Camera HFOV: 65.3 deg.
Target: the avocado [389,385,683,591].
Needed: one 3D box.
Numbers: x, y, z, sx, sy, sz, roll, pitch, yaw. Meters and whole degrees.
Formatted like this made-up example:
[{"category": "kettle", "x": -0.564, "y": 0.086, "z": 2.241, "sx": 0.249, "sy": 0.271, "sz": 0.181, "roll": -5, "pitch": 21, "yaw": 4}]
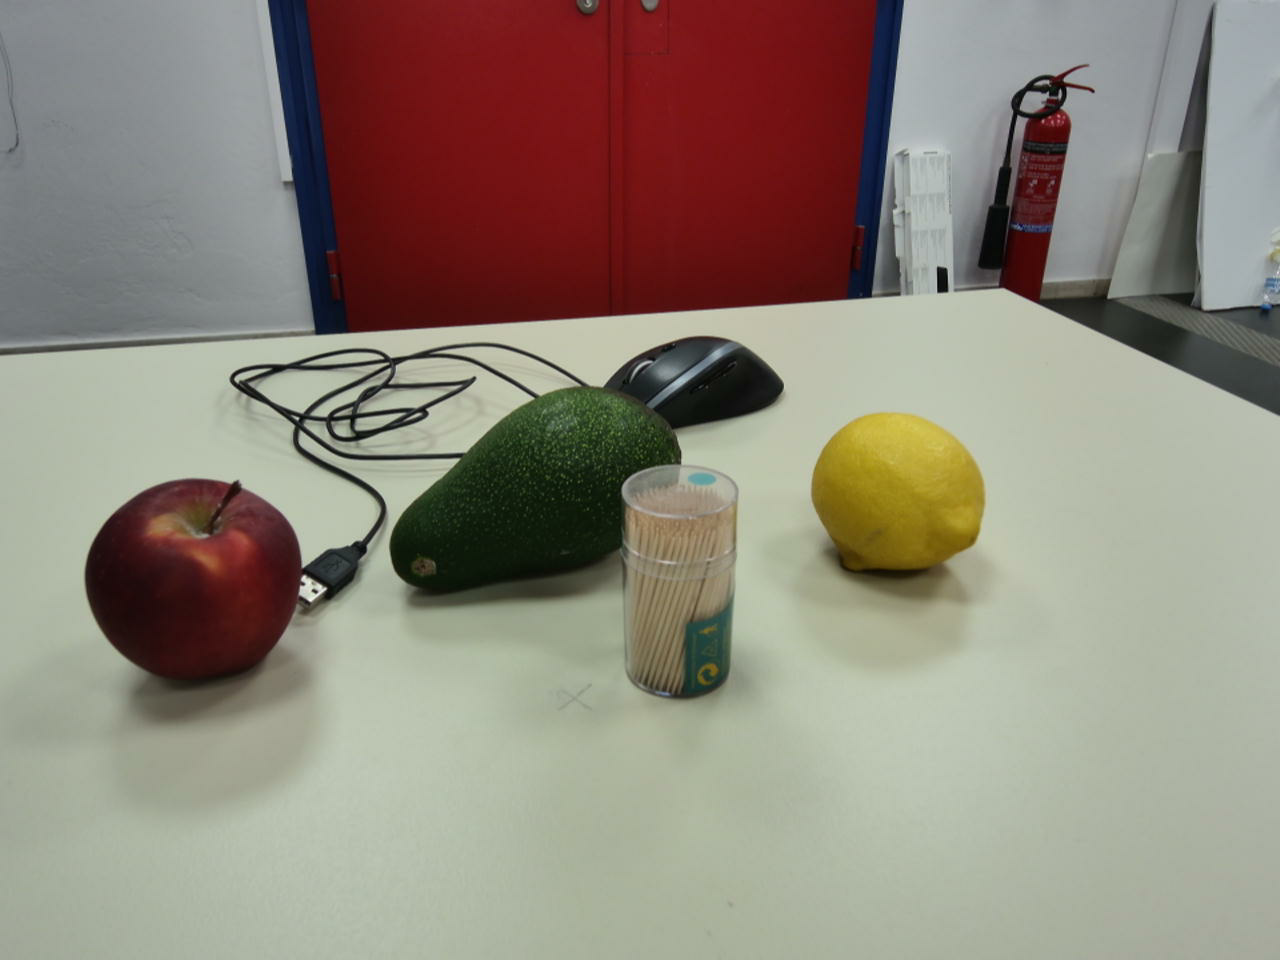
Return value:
[{"category": "avocado", "x": -0.043, "y": -0.001, "z": 0.424, "sx": 0.123, "sy": 0.076, "sz": 0.074, "roll": -3, "pitch": 24, "yaw": -7}]
